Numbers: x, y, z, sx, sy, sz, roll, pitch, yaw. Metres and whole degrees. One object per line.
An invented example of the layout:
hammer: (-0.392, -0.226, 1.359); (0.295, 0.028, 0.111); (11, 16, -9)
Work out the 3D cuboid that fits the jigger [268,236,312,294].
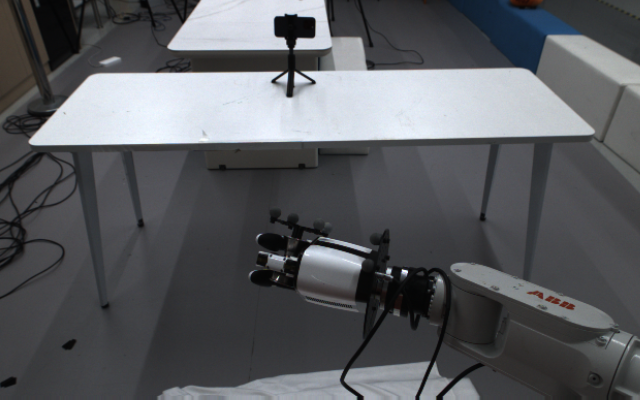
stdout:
jigger: (-0.041, 0.089, 0.706); (0.043, 0.071, 0.043); (15, -7, 2)
